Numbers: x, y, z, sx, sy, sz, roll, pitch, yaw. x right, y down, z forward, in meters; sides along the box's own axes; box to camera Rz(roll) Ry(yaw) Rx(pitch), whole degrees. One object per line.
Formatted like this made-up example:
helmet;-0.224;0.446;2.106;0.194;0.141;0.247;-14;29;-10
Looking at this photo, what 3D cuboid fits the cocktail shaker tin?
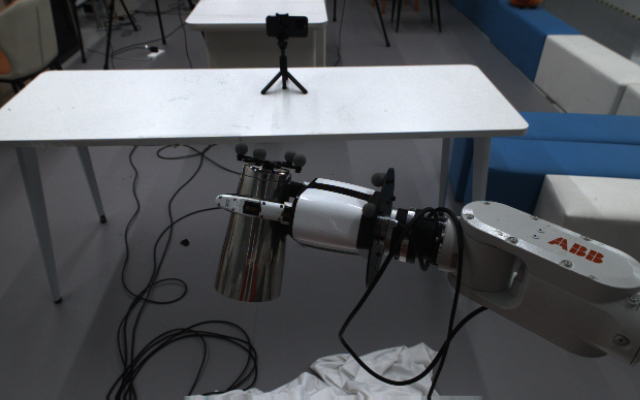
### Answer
cocktail shaker tin;-0.081;0.038;0.655;0.093;0.170;0.093;10;9;-2
